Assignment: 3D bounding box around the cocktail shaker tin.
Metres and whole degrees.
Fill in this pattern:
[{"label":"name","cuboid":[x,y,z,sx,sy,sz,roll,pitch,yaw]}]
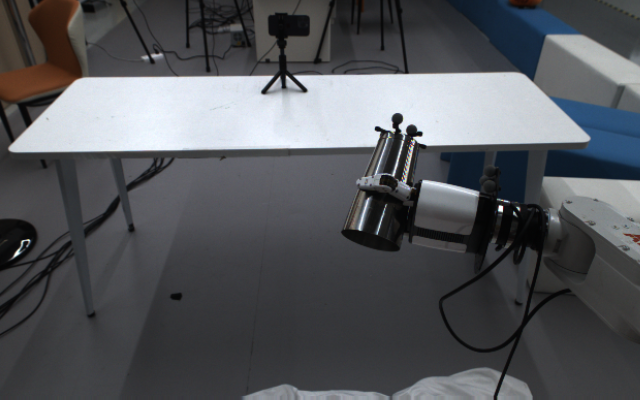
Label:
[{"label":"cocktail shaker tin","cuboid":[0.101,-0.015,0.749,0.093,0.093,0.170,14,73,16]}]
